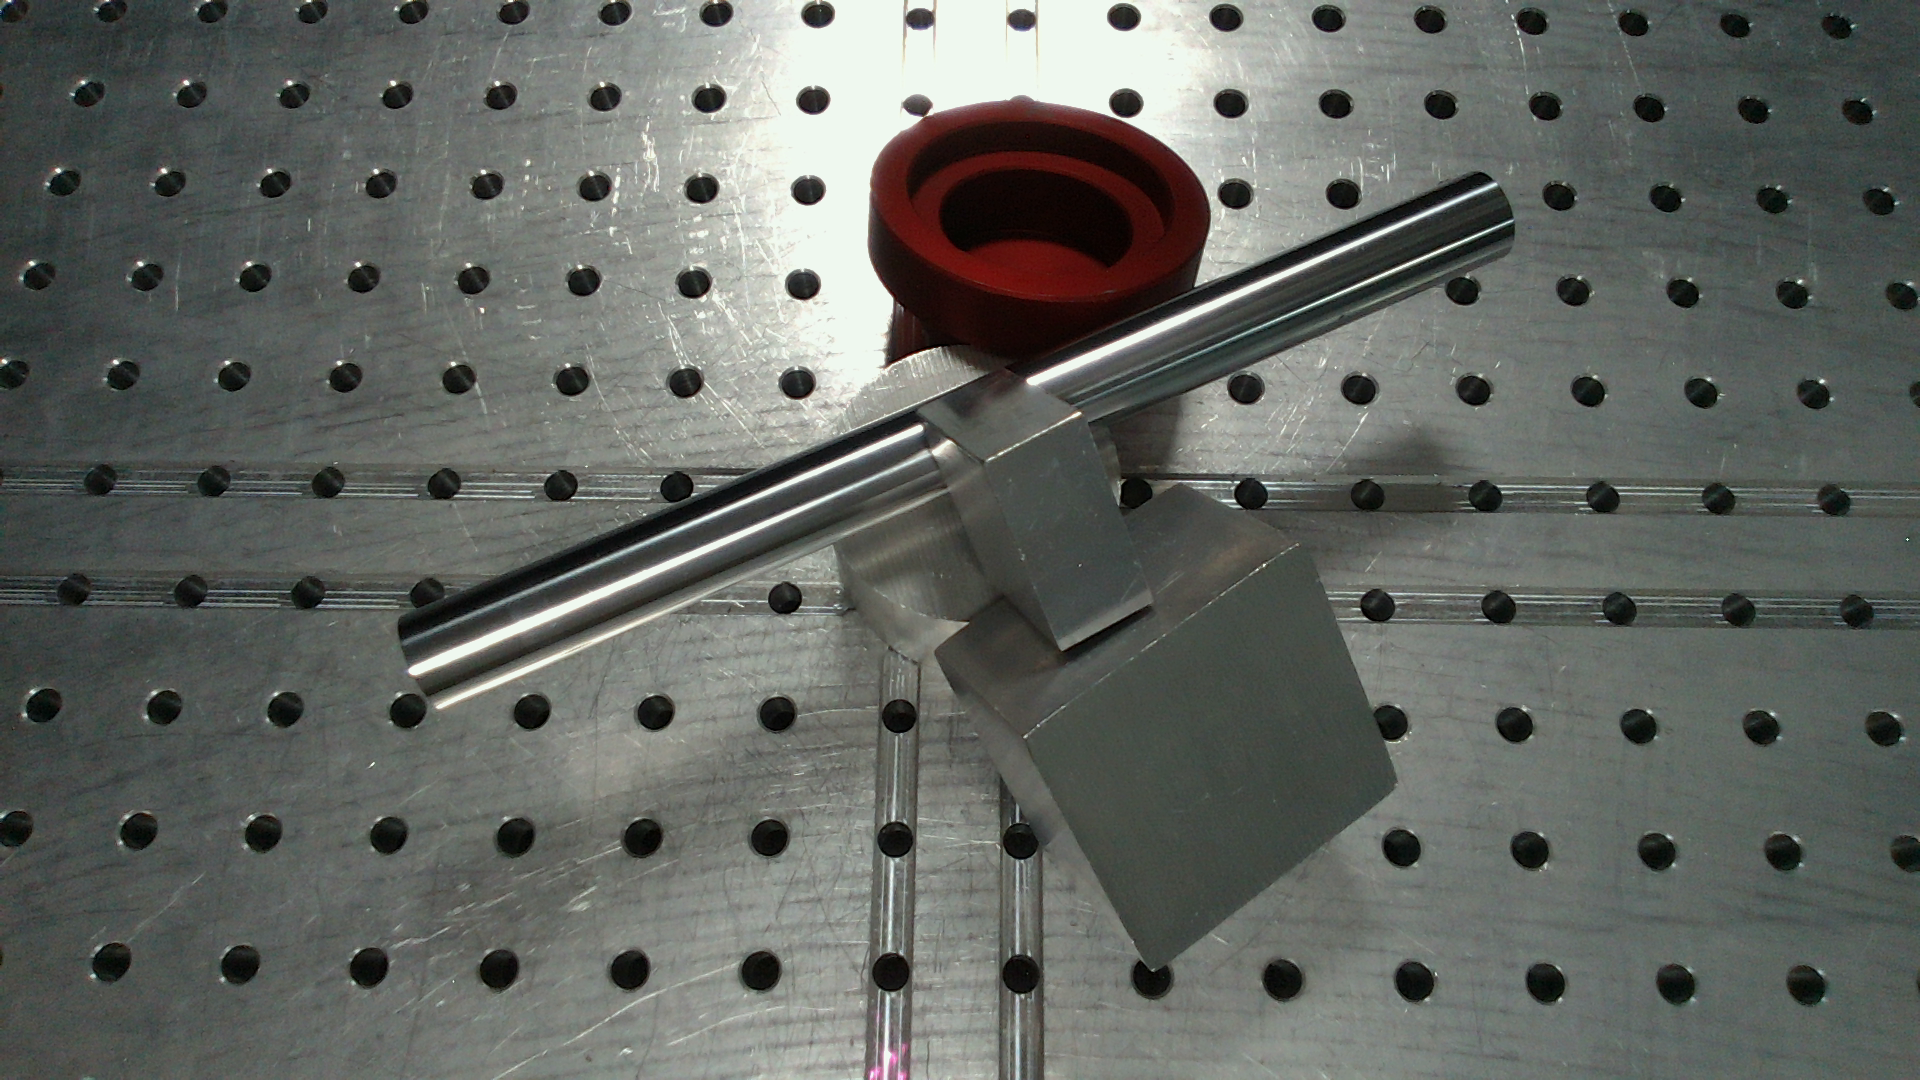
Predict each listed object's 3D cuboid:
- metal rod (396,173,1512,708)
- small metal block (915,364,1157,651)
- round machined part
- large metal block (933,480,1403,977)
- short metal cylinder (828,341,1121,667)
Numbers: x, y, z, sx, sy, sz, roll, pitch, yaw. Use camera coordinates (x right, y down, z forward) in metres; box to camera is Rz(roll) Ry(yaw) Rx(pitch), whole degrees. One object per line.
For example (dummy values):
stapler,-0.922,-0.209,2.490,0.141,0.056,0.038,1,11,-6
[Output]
metal rod,0.006,-0.030,0.354,0.300,0.025,0.025,-23,72,-8
small metal block,0.017,-0.009,0.322,0.025,0.050,0.050,-28,114,-9
round machined part,0.021,-0.086,0.407,0.098,0.042,0.098,4,47,-4
large metal block,0.053,0.045,0.343,0.080,0.050,0.080,-34,118,-11
short metal cylinder,0.003,-0.008,0.386,0.080,0.050,0.080,0,70,0
